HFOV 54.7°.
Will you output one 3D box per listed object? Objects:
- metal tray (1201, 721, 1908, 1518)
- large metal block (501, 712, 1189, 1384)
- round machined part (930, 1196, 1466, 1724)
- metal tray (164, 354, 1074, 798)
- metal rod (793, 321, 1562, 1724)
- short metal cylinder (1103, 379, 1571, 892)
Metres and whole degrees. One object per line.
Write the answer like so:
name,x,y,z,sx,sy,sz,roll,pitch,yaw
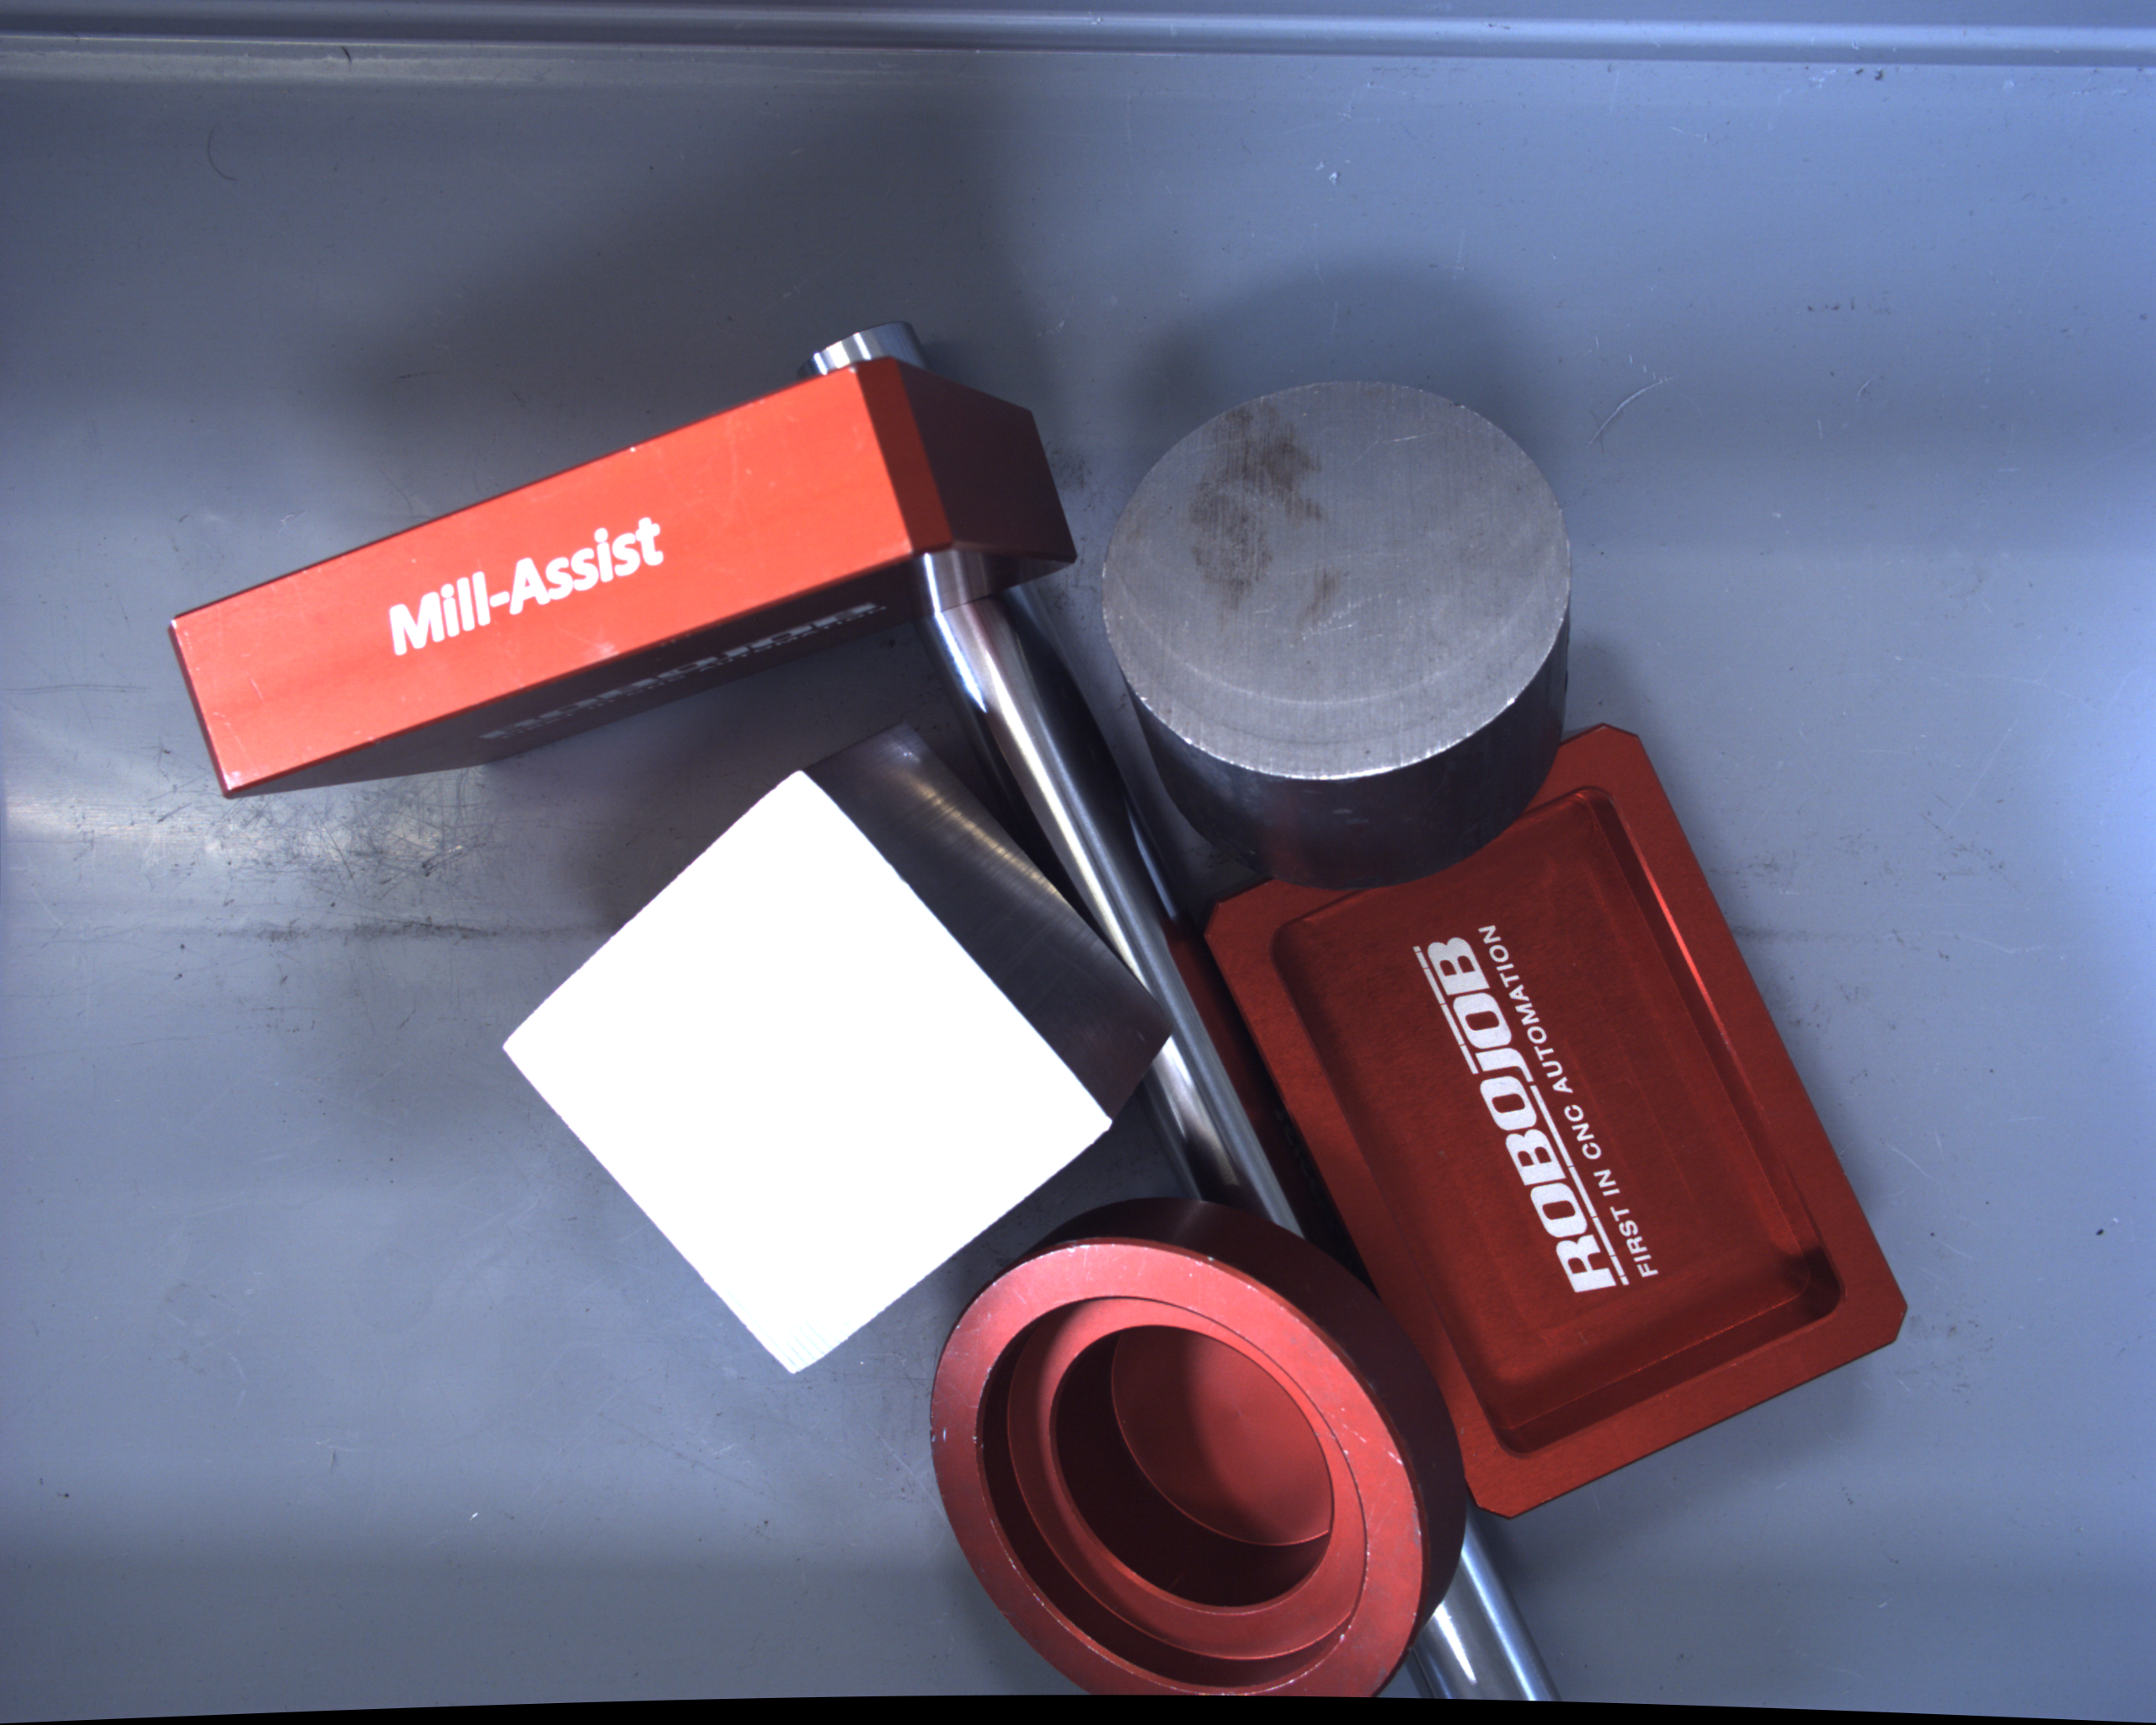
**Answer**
metal tray,0.091,0.048,0.408,0.090,0.030,0.129,-25,90,0
large metal block,-0.040,0.032,0.379,0.080,0.050,0.080,-42,91,18
round machined part,0.025,0.108,0.387,0.098,0.042,0.097,8,107,27
metal tray,-0.074,-0.047,0.362,0.130,0.090,0.030,-17,92,14
metal rod,0.020,0.035,0.409,0.025,0.025,0.299,-25,90,0
short metal cylinder,0.049,-0.041,0.383,0.080,0.050,0.080,-4,66,10
